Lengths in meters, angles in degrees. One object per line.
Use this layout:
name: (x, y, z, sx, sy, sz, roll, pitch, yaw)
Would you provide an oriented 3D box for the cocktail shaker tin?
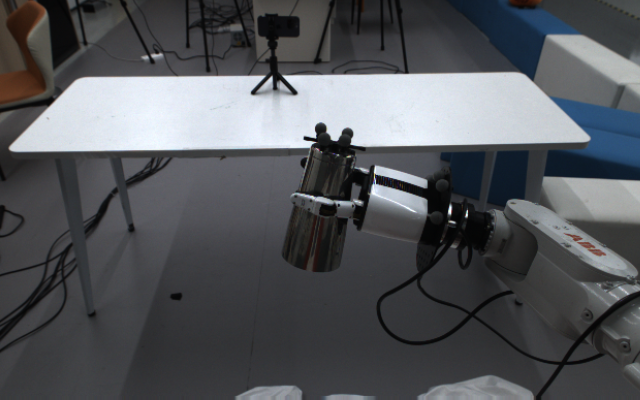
cocktail shaker tin: (0.003, 0.007, 0.704, 0.093, 0.170, 0.093, 11, 19, -4)
